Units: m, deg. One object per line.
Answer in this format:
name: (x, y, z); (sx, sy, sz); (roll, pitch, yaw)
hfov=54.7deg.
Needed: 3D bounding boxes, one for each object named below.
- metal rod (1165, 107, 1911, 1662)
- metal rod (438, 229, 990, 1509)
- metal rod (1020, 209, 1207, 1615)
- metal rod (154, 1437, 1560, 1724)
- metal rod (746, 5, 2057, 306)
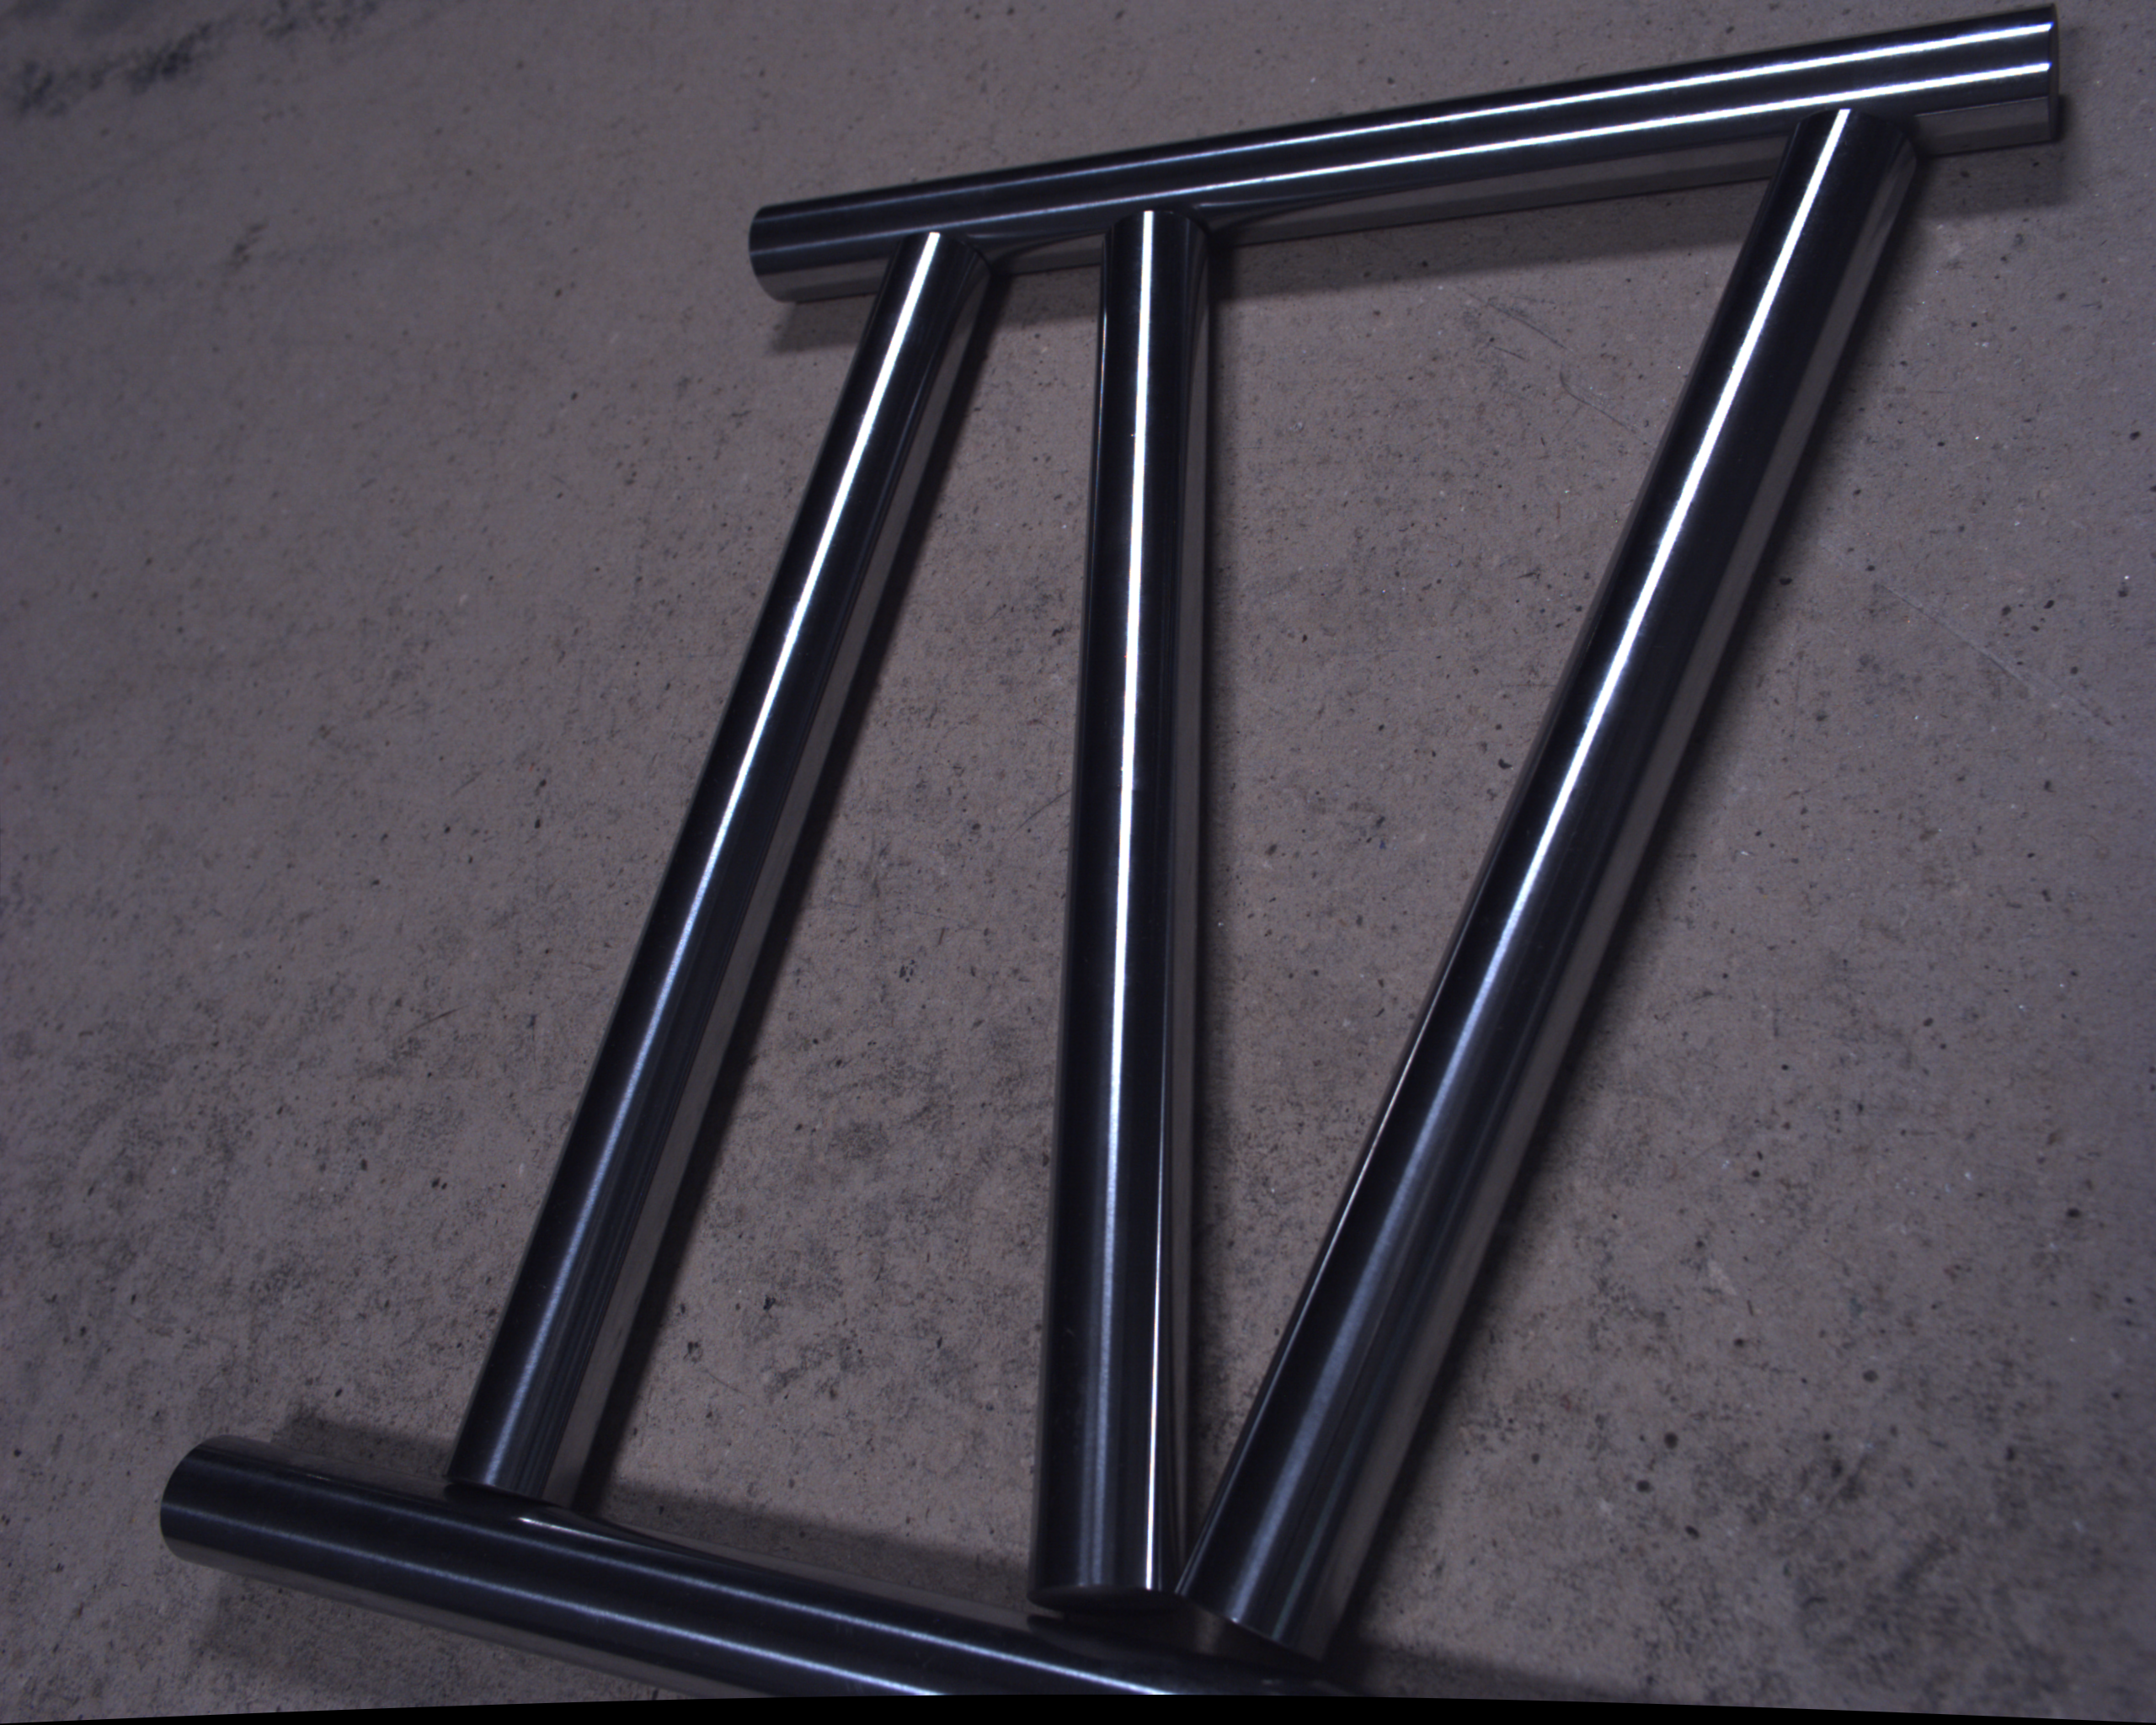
metal rod: (0.088, -0.011, 0.364); (0.025, 0.025, 0.300); (14, 69, 33)
metal rod: (-0.070, -0.015, 0.448); (0.025, 0.025, 0.300); (1, 62, 28)
metal rod: (0.010, -0.012, 0.405); (0.025, 0.025, 0.299); (-11, 57, 22)
metal rod: (-0.040, 0.130, 0.344); (0.300, 0.025, 0.025); (1, 62, 28)
metal rod: (0.054, -0.154, 0.470); (0.300, 0.025, 0.025); (1, 62, 28)
